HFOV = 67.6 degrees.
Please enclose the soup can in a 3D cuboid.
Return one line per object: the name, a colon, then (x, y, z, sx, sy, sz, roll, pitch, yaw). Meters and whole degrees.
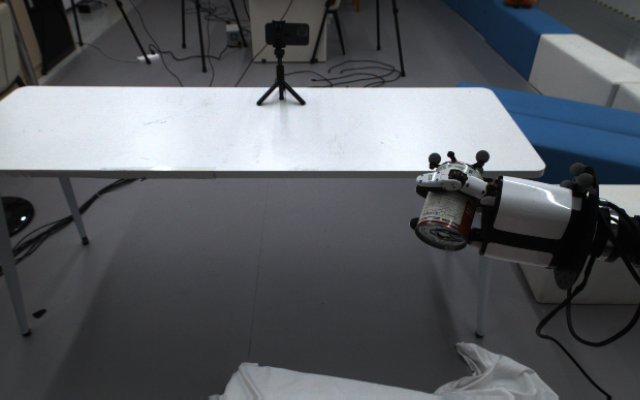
soup can: (0.174, 0.004, 0.647, 0.067, 0.067, 0.101, 15, 63, 18)
